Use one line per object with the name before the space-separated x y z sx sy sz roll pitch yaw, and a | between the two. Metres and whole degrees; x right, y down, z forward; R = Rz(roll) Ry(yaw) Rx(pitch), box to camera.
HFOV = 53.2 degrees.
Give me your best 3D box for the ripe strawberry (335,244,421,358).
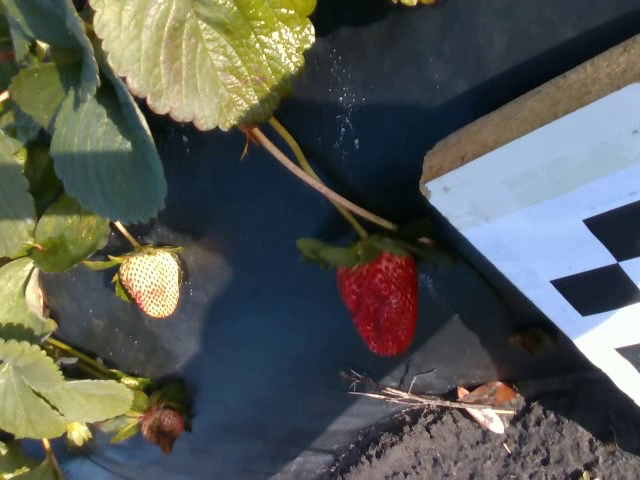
ripe strawberry | 0.009 0.008 0.099 0.015 0.023 0.015 -18 -9 34
